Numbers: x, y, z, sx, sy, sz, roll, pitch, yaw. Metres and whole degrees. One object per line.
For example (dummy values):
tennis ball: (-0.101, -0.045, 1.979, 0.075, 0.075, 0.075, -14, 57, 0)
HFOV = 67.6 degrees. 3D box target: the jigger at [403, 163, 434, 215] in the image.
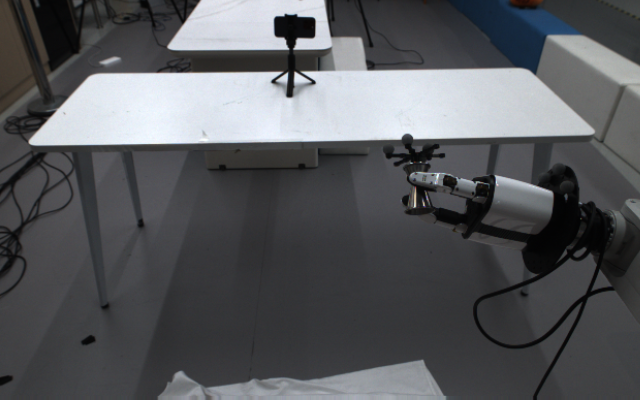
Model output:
jigger: (0.141, -0.019, 0.694, 0.043, 0.043, 0.071, 0, 75, -3)
